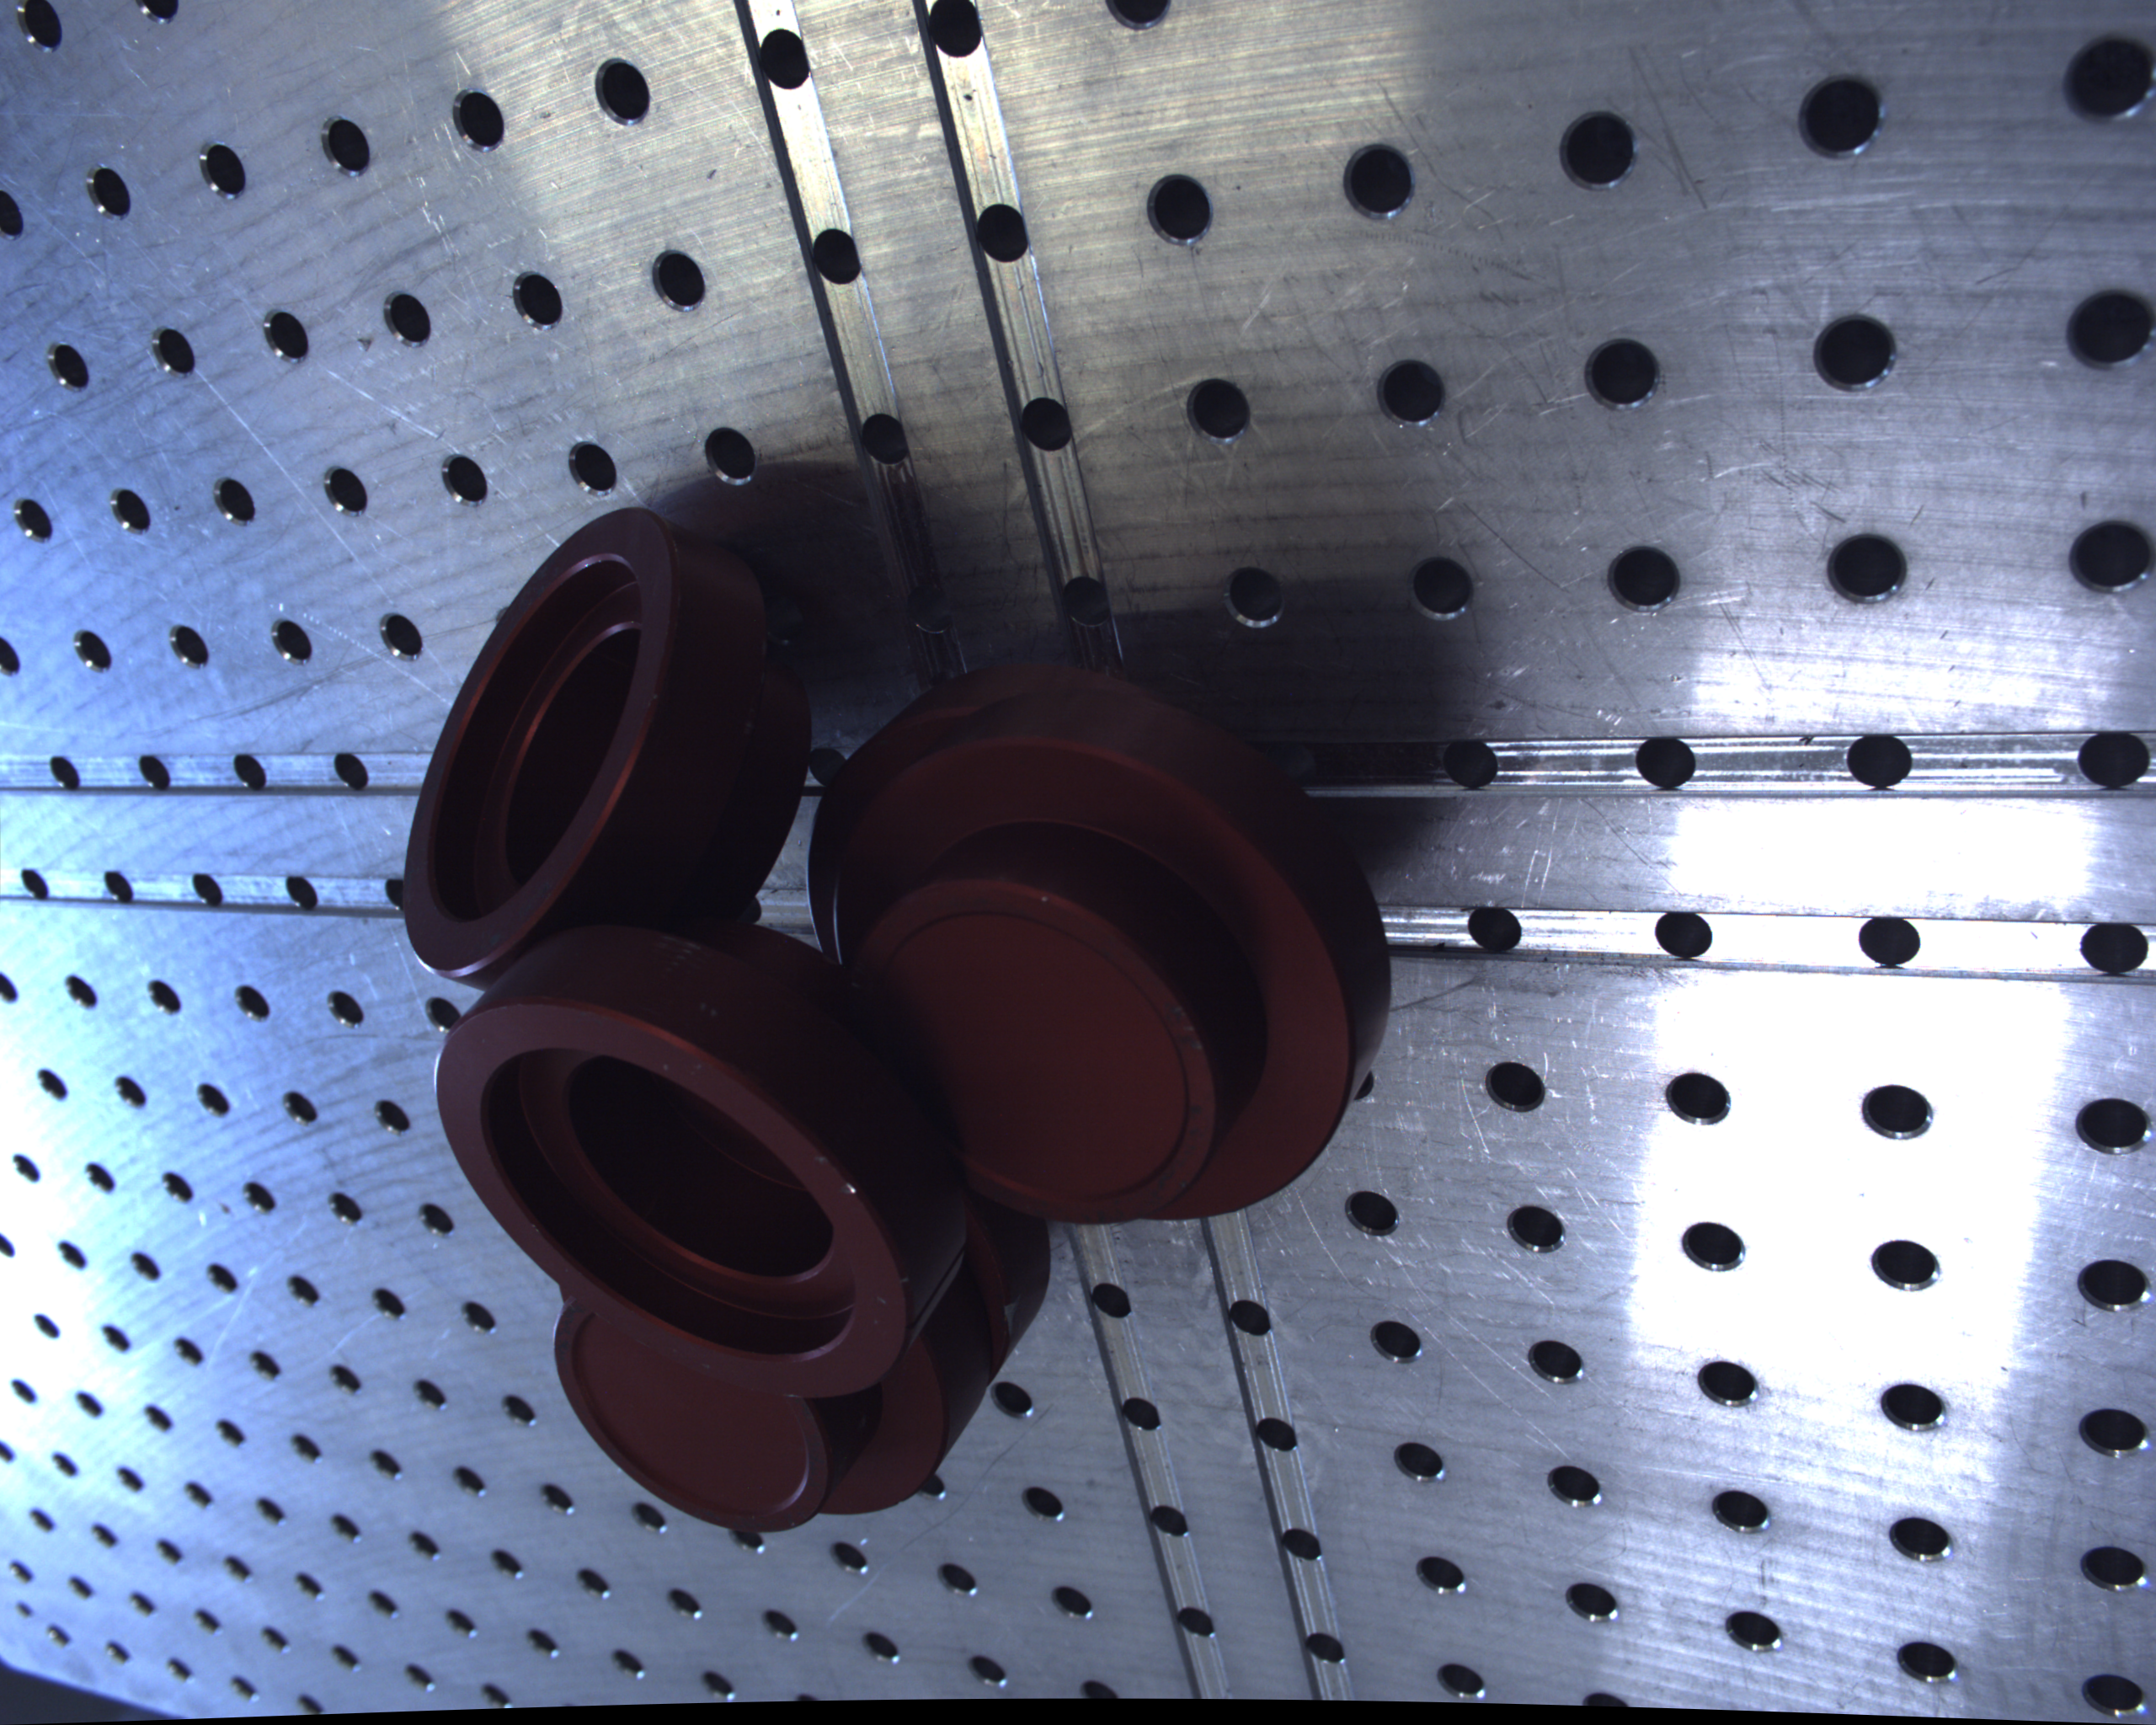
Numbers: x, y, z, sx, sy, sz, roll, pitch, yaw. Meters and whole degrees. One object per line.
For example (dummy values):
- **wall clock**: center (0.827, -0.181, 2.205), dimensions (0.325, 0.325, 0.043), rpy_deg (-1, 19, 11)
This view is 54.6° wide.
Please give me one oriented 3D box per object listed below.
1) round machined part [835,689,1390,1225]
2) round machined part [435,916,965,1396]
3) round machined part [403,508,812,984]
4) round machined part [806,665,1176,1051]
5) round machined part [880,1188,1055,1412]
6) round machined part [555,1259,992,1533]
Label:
- **round machined part**: center (0.000, 0.023, 0.359), dimensions (0.098, 0.042, 0.097), rpy_deg (13, 123, 21)
- **round machined part**: center (-0.064, 0.049, 0.382), dimensions (0.098, 0.042, 0.097), rpy_deg (17, 134, 19)
- **round machined part**: center (-0.090, -0.017, 0.413), dimensions (0.042, 0.098, 0.098), rpy_deg (26, 138, -35)
- **round machined part**: center (-0.009, 0.016, 0.388), dimensions (0.098, 0.042, 0.097), rpy_deg (13, 124, 21)
- **round machined part**: center (-0.058, 0.085, 0.457), dimensions (0.098, 0.042, 0.097), rpy_deg (13, 124, 21)
- **round machined part**: center (-0.071, 0.104, 0.448), dimensions (0.098, 0.042, 0.097), rpy_deg (13, 124, 21)
